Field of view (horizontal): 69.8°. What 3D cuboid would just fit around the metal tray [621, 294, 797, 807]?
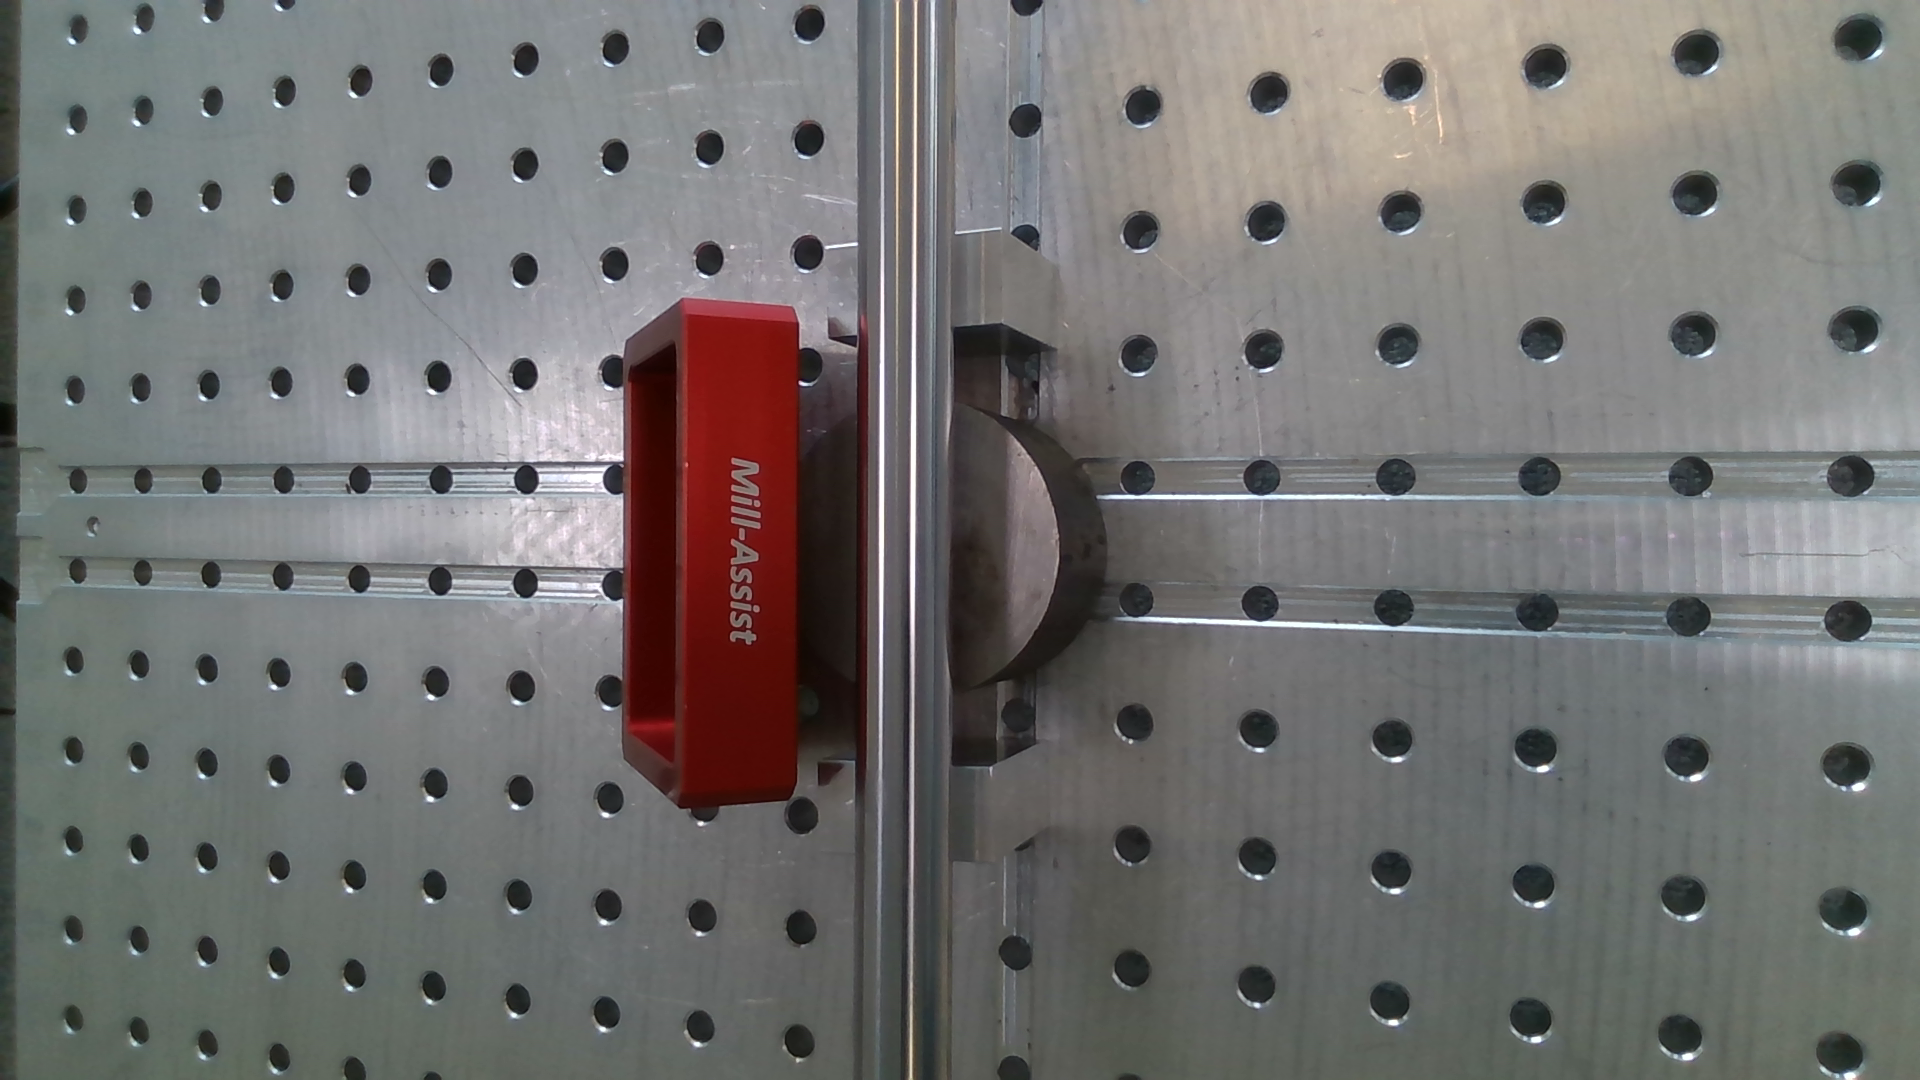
[{"bbox_3d":[-0.074,0.003,0.391,0.030,0.090,0.130,0,90,-23],"label":"metal tray"}]

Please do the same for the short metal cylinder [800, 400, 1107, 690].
[{"bbox_3d":[-0.004,0.001,0.385,0.080,0.050,0.080,0,90,20],"label":"short metal cylinder"}]

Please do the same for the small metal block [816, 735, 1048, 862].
[{"bbox_3d":[-0.007,0.071,0.386,0.050,0.050,0.025,-1,90,20],"label":"small metal block"}]

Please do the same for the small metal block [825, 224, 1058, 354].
[{"bbox_3d":[-0.004,-0.068,0.384,0.050,0.050,0.025,-1,90,20],"label":"small metal block"}]

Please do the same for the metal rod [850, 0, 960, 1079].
[{"bbox_3d":[-0.014,-0.009,0.348,0.025,0.025,0.300,1,90,20],"label":"metal rod"}]
